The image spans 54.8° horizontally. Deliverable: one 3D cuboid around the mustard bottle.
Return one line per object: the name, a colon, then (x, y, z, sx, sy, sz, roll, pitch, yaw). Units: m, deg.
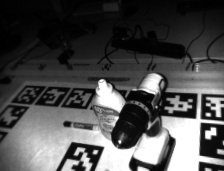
mustard bottle: (-0.003, 0.068, 0.564, 0.095, 0.193, 0.058, 10, 47, 27)

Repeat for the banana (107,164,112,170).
banana: (0.062, 0.231, 0.479, 0.195, 0.039, 0.074, 6, 46, 26)

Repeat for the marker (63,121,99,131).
marker: (-0.099, 0.124, 0.668, 0.120, 0.020, 0.019, 2, 44, 21)

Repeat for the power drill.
power drill: (0.074, 0.101, 0.475, 0.056, 0.188, 0.185, 13, 45, 29)
